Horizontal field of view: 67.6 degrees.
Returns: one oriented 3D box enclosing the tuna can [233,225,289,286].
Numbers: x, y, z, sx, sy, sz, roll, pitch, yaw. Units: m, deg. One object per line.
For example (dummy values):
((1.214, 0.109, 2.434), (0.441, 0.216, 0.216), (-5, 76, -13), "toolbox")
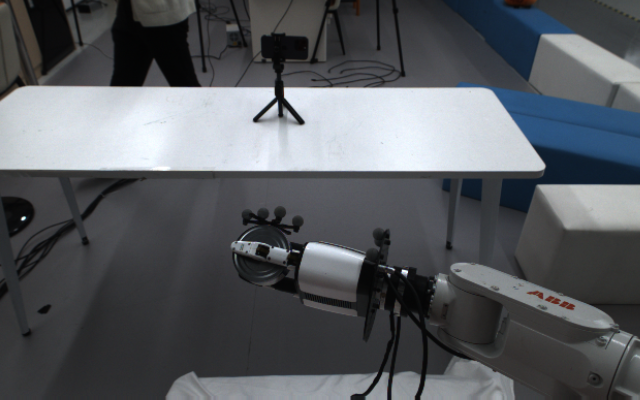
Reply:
((-0.082, 0.081, 0.708), (0.085, 0.034, 0.085), (-3, 69, 8), "tuna can")
